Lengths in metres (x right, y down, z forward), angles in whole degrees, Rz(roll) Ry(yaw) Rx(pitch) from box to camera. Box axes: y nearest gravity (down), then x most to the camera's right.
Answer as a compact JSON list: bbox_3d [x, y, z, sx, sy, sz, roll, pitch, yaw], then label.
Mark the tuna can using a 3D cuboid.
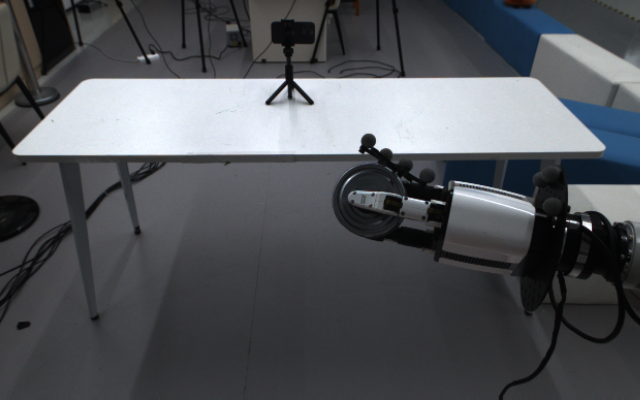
[{"bbox_3d":[0.062,0.006,0.556,0.085,0.085,0.034,12,-4,14],"label":"tuna can"}]
